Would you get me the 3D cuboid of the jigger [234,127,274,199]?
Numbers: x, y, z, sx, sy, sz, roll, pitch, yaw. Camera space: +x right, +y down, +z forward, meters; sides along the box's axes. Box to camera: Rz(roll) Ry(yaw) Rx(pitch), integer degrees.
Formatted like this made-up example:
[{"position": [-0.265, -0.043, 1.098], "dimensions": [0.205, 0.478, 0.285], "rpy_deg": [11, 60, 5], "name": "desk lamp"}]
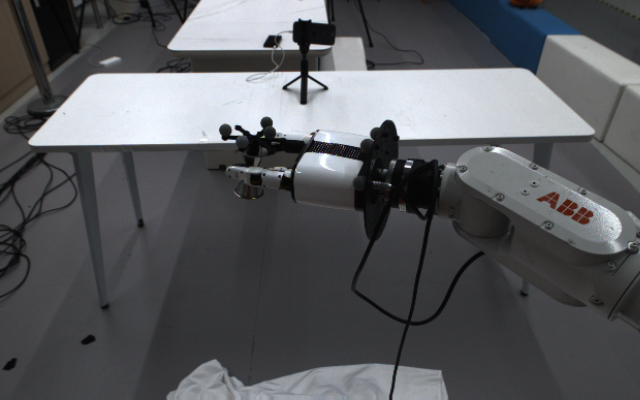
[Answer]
[{"position": [-0.098, -0.041, 0.690], "dimensions": [0.043, 0.071, 0.043], "rpy_deg": [9, 30, -5], "name": "jigger"}]
